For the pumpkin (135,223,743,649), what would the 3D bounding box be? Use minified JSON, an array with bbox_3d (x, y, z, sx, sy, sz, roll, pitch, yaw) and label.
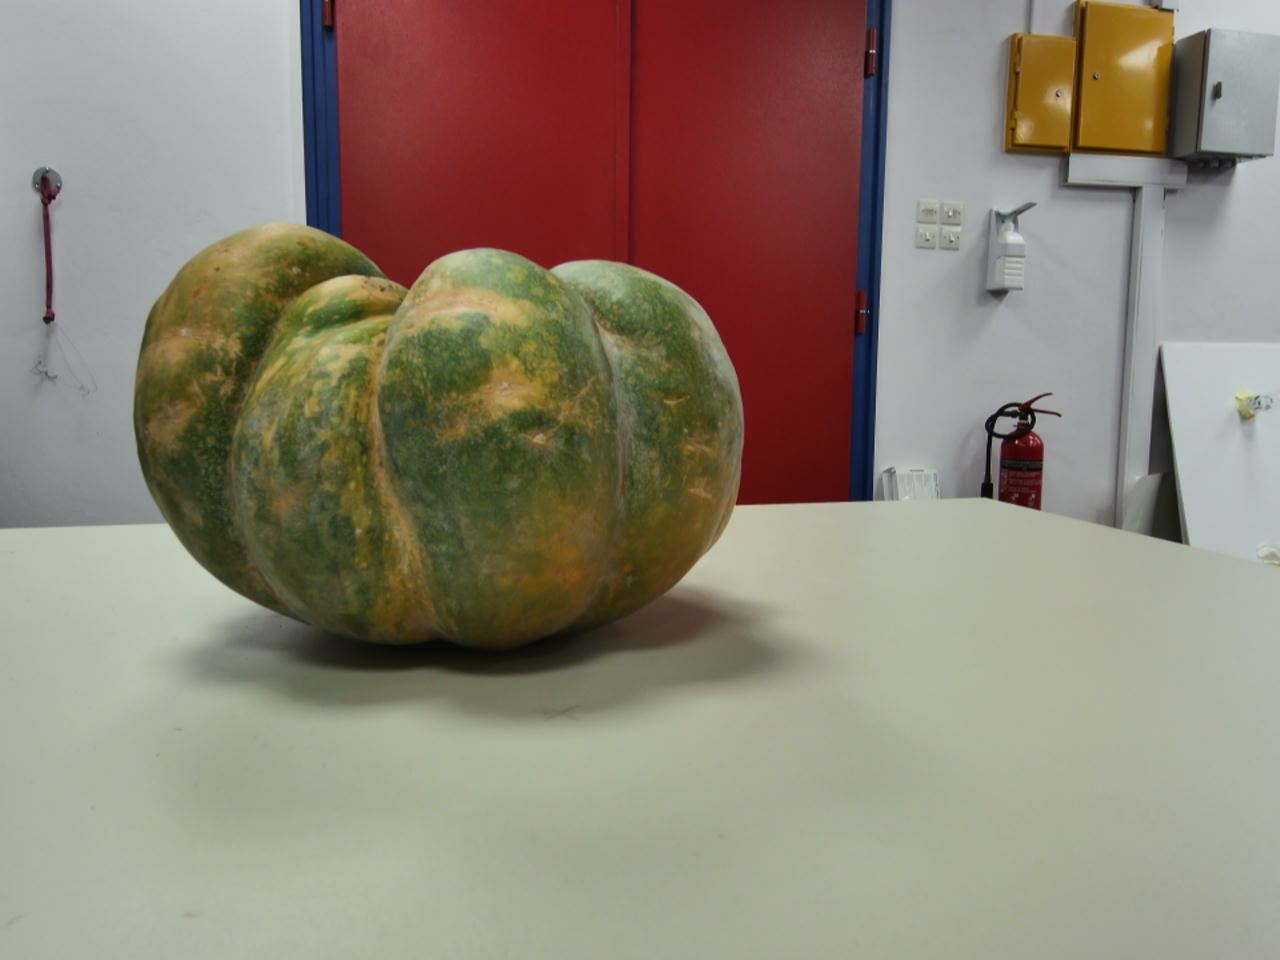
[{"bbox_3d":[-0.083,-0.019,0.448,0.270,0.173,0.237,2,5,24],"label":"pumpkin"}]
